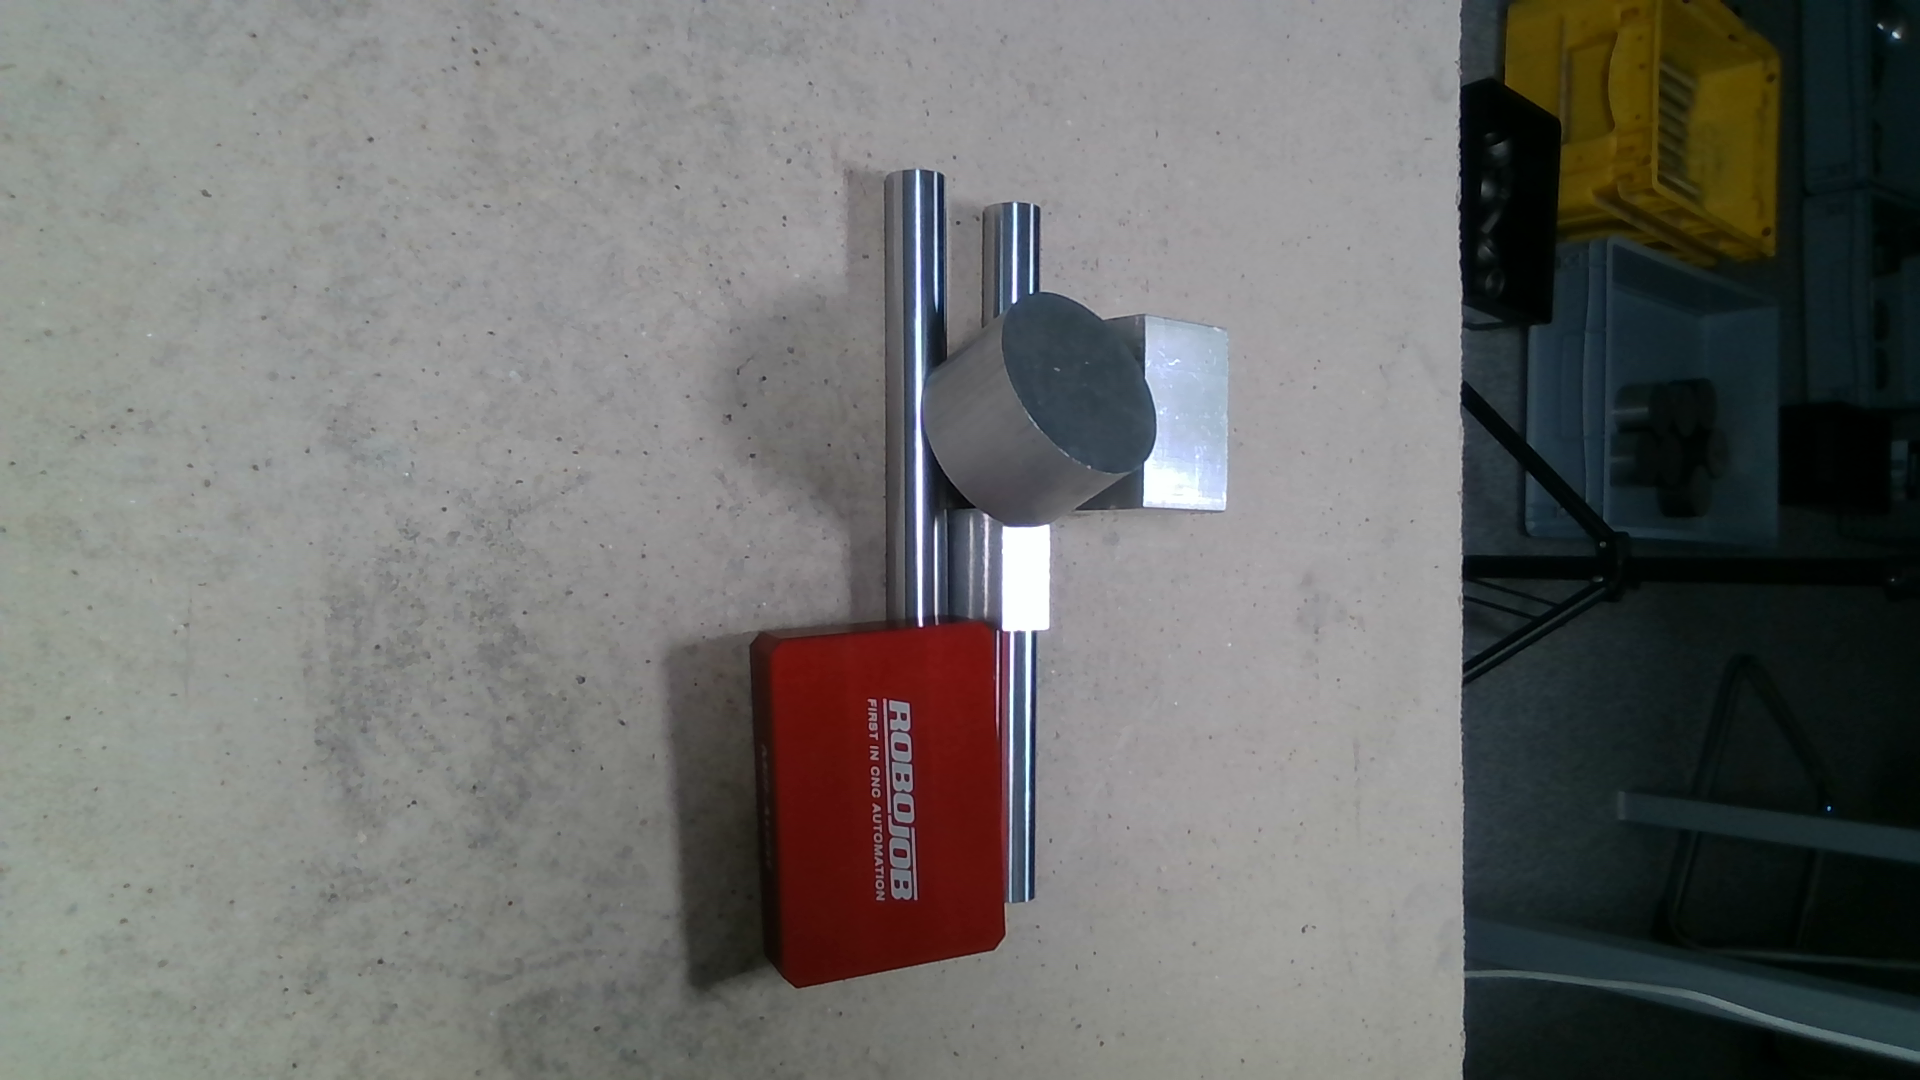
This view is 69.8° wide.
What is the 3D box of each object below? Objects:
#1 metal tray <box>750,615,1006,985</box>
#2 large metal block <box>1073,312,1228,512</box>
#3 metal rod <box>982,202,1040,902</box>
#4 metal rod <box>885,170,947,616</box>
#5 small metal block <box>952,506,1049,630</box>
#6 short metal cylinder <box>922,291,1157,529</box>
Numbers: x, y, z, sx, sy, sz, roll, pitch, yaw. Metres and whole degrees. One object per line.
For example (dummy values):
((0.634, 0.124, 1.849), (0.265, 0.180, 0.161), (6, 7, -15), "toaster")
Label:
((-0.031, 0.098, 0.535), (0.090, 0.030, 0.130), (-4, 94, -23), "metal tray")
((0.070, -0.052, 0.607), (0.050, 0.080, 0.080), (1, 89, -40), "large metal block")
((0.021, 0.005, 0.602), (0.025, 0.025, 0.300), (1, 90, -40), "metal rod")
((-0.018, 0.000, 0.569), (0.025, 0.025, 0.300), (0, 90, -40), "metal rod")
((0.011, 0.011, 0.576), (0.025, 0.050, 0.050), (1, 89, -40), "small metal block")
((0.032, -0.051, 0.547), (0.080, 0.050, 0.080), (22, 53, -32), "short metal cylinder")
